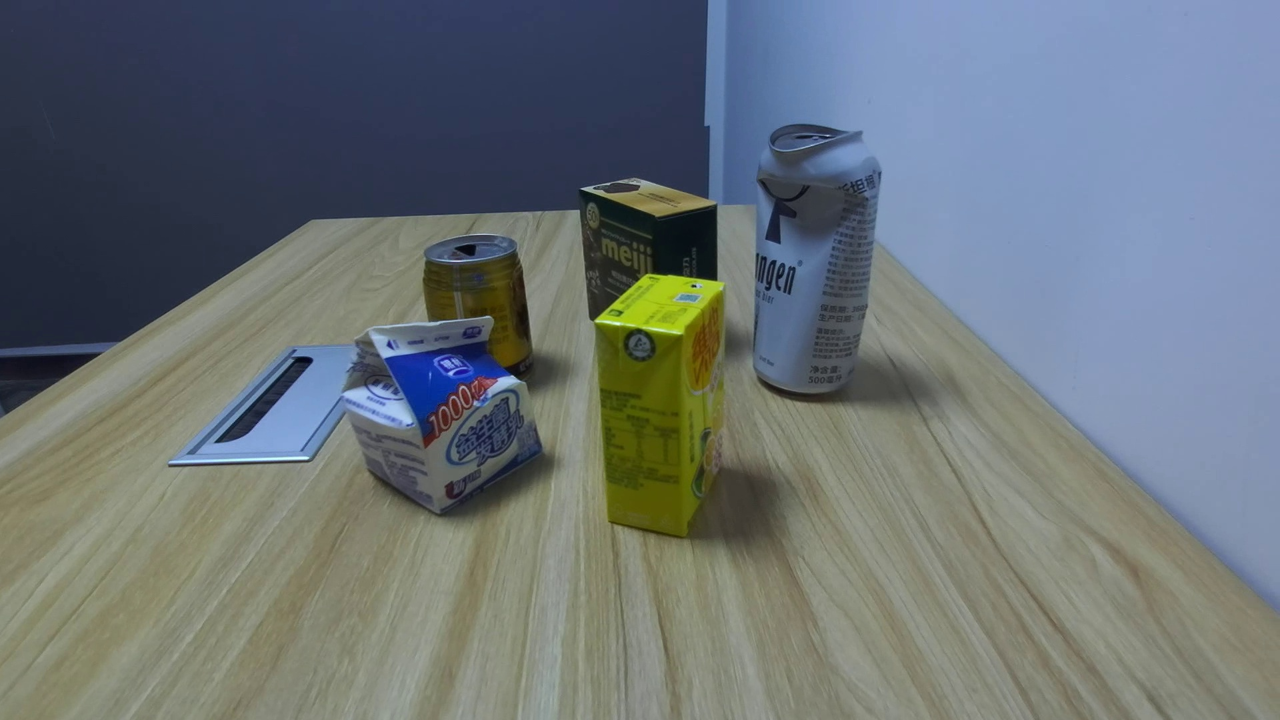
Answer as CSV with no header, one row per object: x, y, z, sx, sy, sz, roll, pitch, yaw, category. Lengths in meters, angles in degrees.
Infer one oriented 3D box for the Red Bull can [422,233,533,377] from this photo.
-0.109,-0.032,0.482,0.069,0.092,0.069,-2,24,1,Red Bull can

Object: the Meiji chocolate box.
0.005,-0.069,0.526,0.056,0.109,0.109,-17,29,-30,Meiji chocolate box

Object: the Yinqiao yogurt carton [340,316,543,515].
-0.108,0.017,0.377,0.077,0.093,0.083,19,33,36,Yinqiao yogurt carton

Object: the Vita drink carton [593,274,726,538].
0.013,0.021,0.343,0.043,0.109,0.067,8,28,20,Vita drink carton

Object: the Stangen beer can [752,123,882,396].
0.105,-0.060,0.440,0.077,0.162,0.066,7,27,18,Stangen beer can
